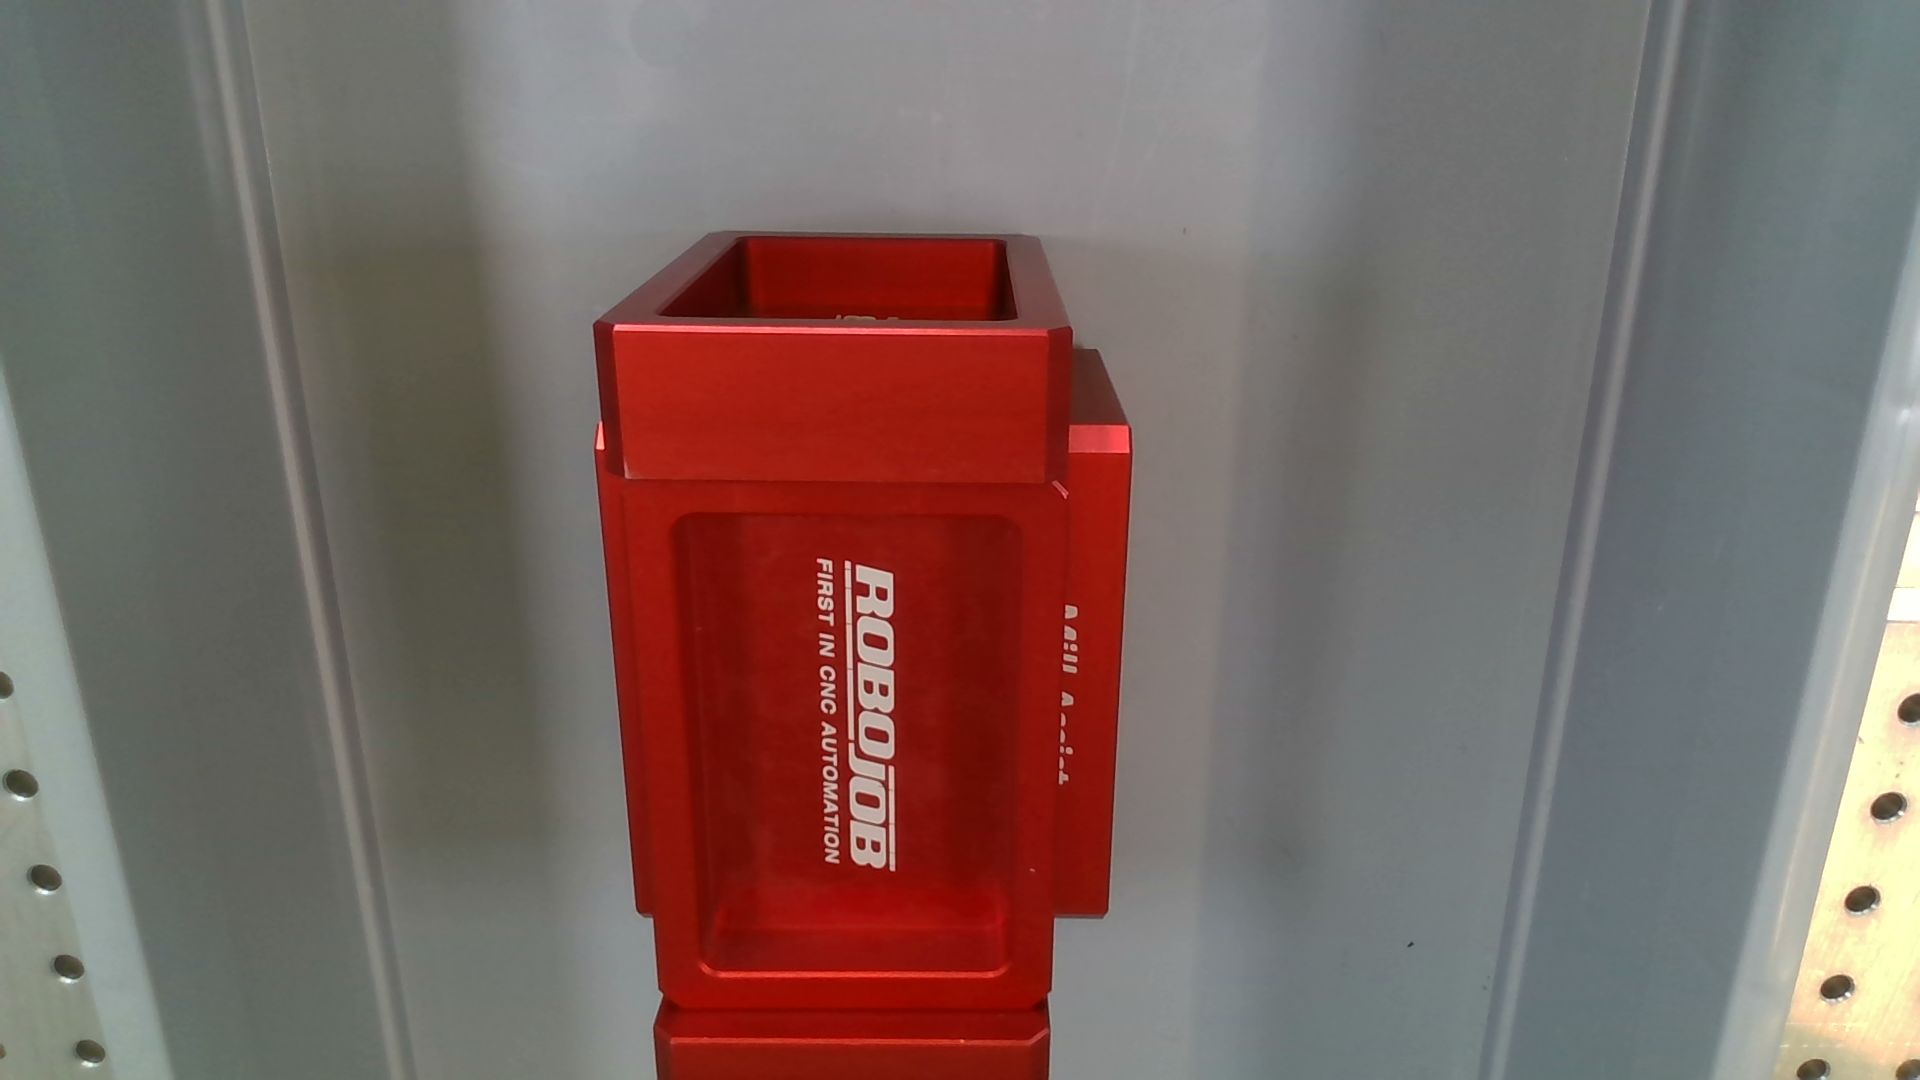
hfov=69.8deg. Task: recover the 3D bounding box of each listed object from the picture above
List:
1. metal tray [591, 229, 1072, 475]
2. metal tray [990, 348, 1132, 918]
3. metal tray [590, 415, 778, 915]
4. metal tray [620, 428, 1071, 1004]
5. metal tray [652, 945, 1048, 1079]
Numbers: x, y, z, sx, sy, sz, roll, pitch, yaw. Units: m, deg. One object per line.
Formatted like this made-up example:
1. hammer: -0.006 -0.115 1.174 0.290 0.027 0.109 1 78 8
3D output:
1. metal tray: -0.024 -0.049 0.319 0.090 0.130 0.030 1 110 0
2. metal tray: 0.023 0.021 0.364 0.030 0.090 0.130 0 110 1
3. metal tray: -0.067 0.021 0.364 0.030 0.090 0.130 0 110 -1
4. metal tray: -0.024 0.041 0.309 0.090 0.030 0.130 1 110 -1
5. metal tray: -0.025 0.104 0.374 0.090 0.130 0.030 1 110 0
